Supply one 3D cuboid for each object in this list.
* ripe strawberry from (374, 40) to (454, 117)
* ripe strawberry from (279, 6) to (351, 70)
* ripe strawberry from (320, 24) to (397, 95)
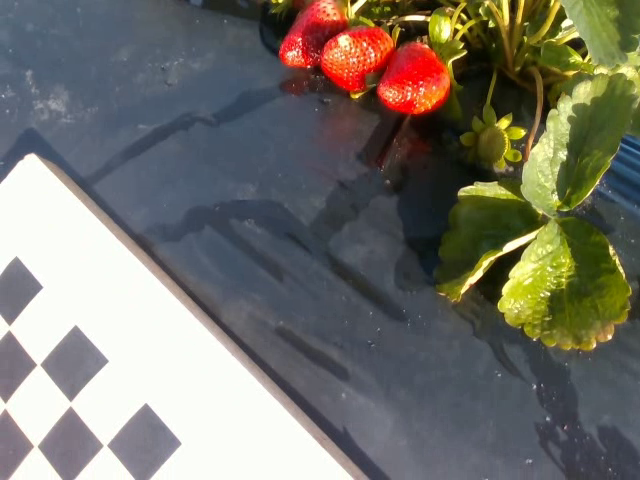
[{"bbox_3d":[0.037,-0.069,0.277,0.035,0.034,0.041,35,36,23],"label":"ripe strawberry"},{"bbox_3d":[-0.004,-0.101,0.302,0.032,0.046,0.023,39,-16,23],"label":"ripe strawberry"},{"bbox_3d":[0.015,-0.087,0.284,0.039,0.030,0.037,-4,-41,-54],"label":"ripe strawberry"}]
